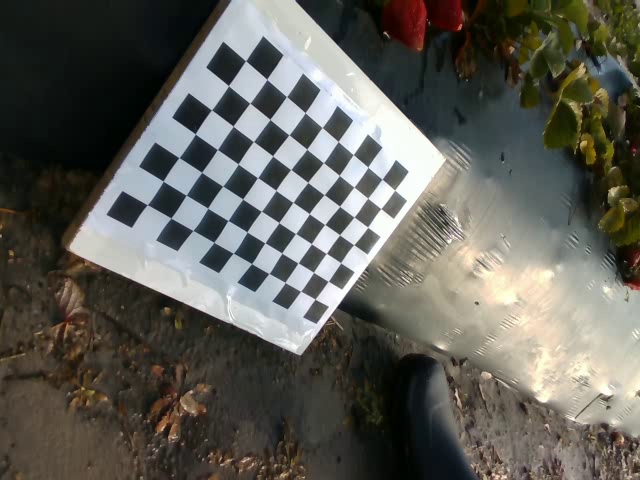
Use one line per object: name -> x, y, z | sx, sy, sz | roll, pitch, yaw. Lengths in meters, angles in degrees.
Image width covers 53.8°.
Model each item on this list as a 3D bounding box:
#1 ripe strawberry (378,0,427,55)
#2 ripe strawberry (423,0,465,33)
ripe strawberry -> 0.088, -0.211, 0.609 | 0.050, 0.065, 0.050 | -12, -25, -25
ripe strawberry -> 0.134, -0.243, 0.673 | 0.044, 0.055, 0.042 | -33, -14, -13
